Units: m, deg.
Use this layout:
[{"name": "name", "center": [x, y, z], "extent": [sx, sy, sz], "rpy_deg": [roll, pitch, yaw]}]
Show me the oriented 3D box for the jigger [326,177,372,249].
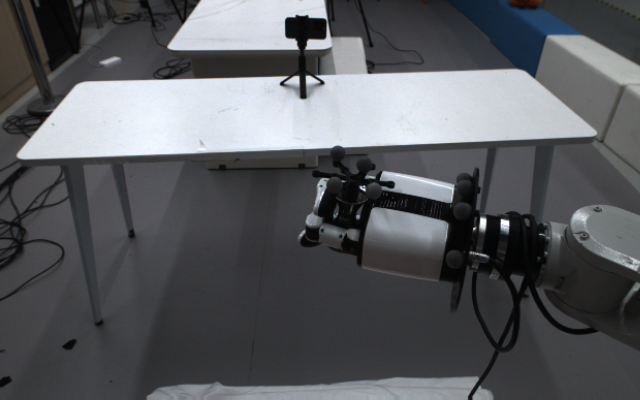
[{"name": "jigger", "center": [0.032, 0.021, 0.550], "extent": [0.043, 0.071, 0.043], "rpy_deg": [6, 32, -4]}]
